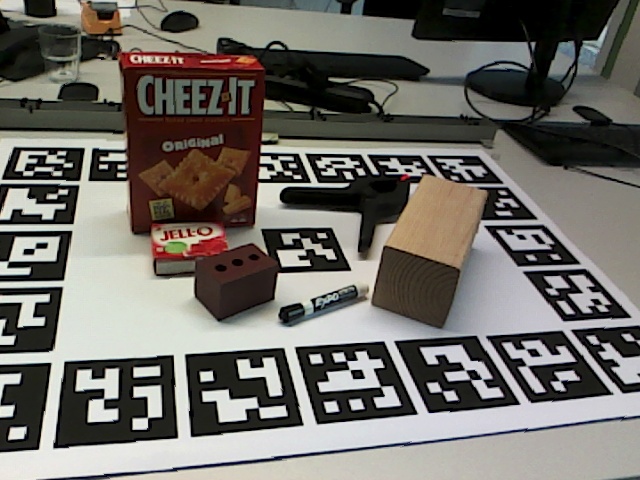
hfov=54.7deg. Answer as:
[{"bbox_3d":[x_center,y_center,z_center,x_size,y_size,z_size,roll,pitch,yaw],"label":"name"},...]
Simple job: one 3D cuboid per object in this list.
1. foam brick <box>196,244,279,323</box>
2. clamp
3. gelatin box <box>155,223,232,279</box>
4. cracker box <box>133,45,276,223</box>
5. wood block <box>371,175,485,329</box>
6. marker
[{"bbox_3d":[-0.094,0.048,0.699,0.077,0.051,0.053,-20,46,-35],"label":"foam brick"},{"bbox_3d":[0.065,-0.062,0.904,0.202,0.036,0.166,-25,48,-39],"label":"clamp"},{"bbox_3d":[-0.155,0.011,0.759,0.089,0.030,0.074,-3,38,-16],"label":"gelatin box"},{"bbox_3d":[-0.152,-0.128,0.785,0.163,0.213,0.072,-3,36,-20],"label":"cracker box"},{"bbox_3d":[0.141,0.007,0.784,0.090,0.091,0.206,17,33,14],"label":"wood block"},{"bbox_3d":[-0.003,0.075,0.708,0.120,0.019,0.020,-16,44,-31],"label":"marker"}]
